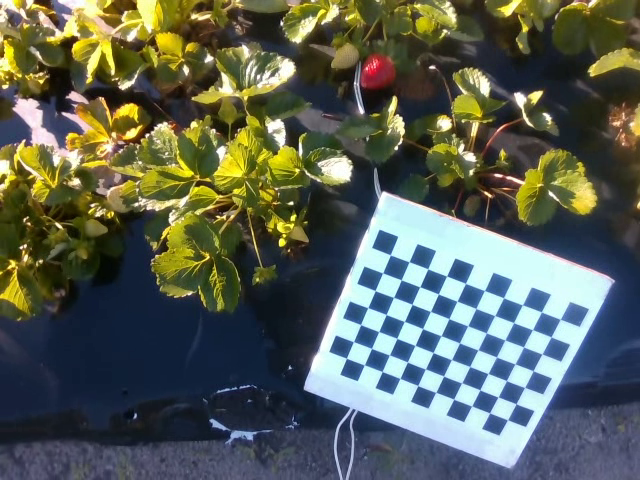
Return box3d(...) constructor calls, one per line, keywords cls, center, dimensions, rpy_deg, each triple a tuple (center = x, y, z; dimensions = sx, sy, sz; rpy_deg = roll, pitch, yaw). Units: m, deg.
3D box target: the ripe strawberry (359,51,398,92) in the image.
box3d(cls="ripe strawberry", center=(0.086, -0.251, 0.859), dimensions=(0.080, 0.063, 0.040), rpy_deg=(-47, 12, -30))
